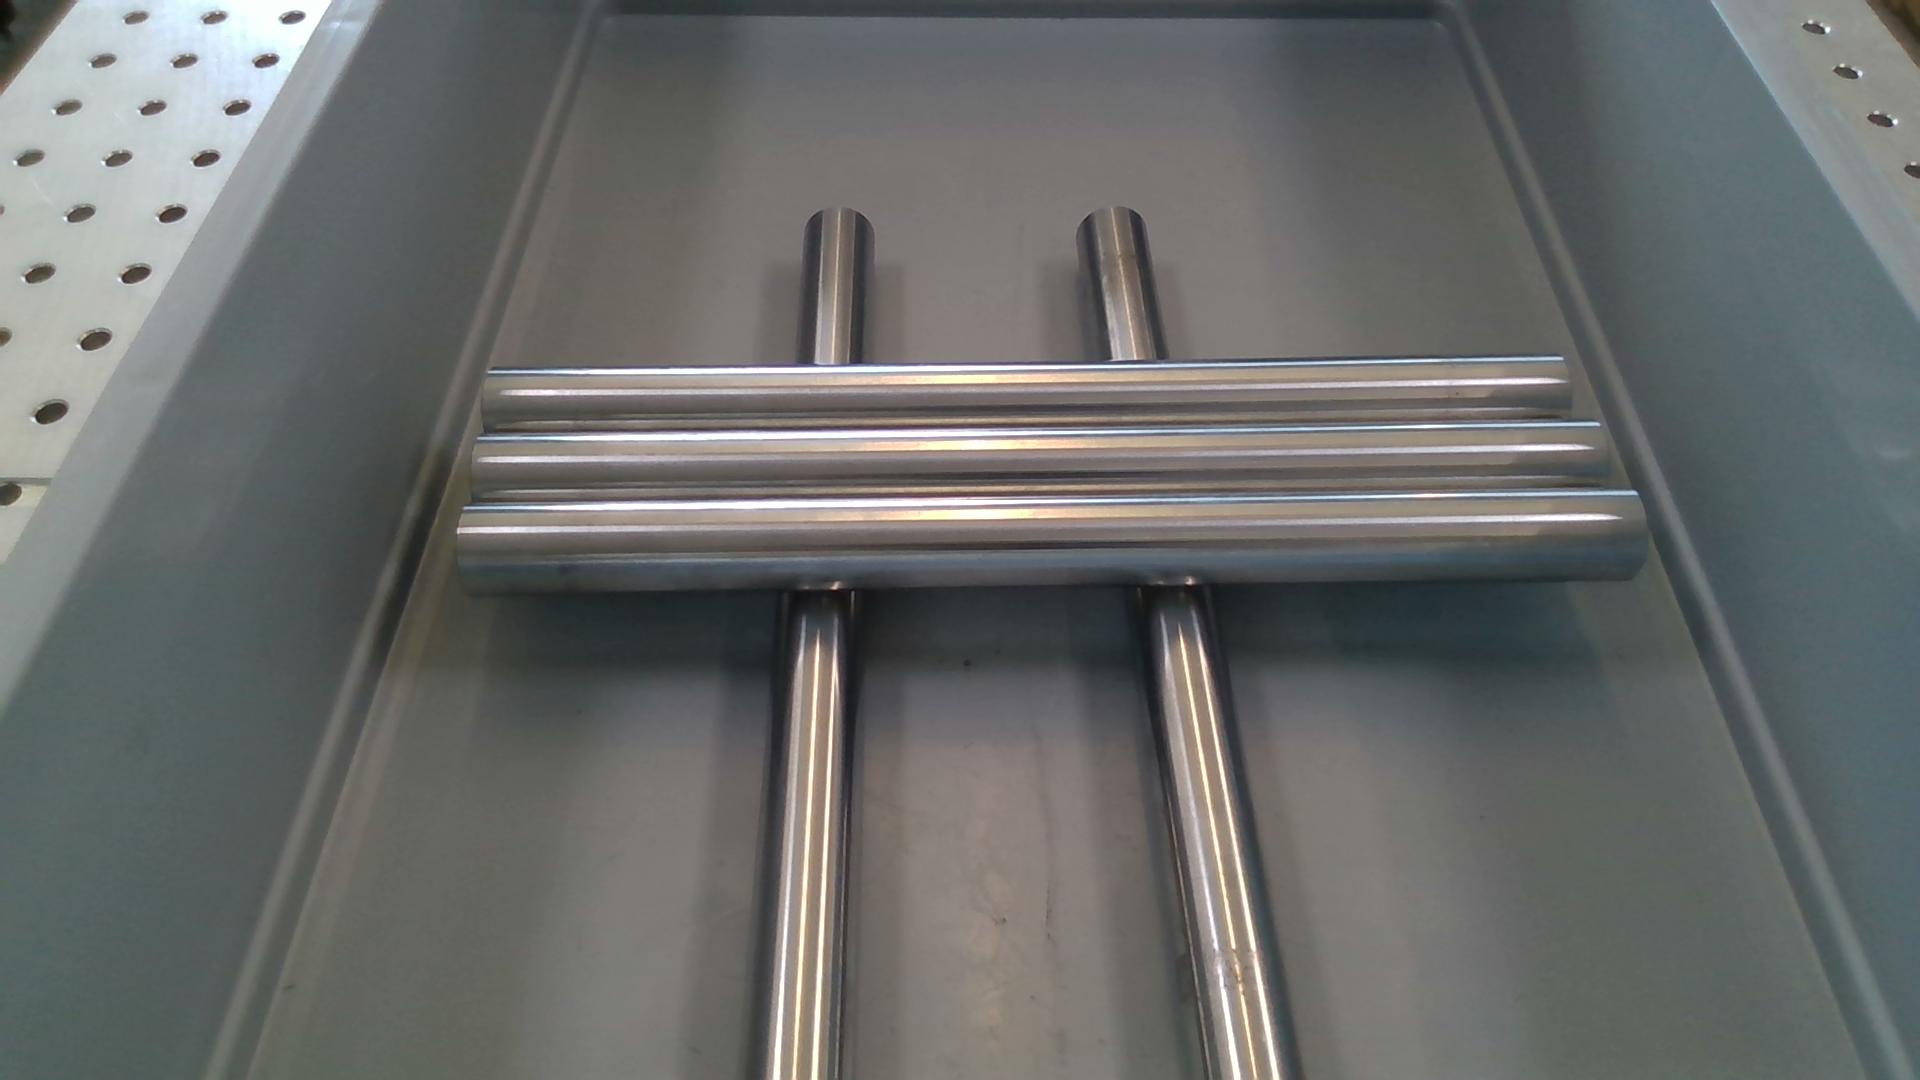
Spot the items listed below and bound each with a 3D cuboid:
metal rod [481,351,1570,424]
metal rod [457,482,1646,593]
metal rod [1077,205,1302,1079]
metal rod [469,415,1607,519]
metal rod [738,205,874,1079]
[{"bbox_3d":[0.019,-0.039,0.391,0.300,0.025,0.025,-1,50,-1],"label":"metal rod"},{"bbox_3d":[0.024,-0.001,0.360,0.300,0.025,0.025,-1,50,-1],"label":"metal rod"},{"bbox_3d":[0.057,0.008,0.387,0.025,0.025,0.299,-1,50,-1],"label":"metal rod"},{"bbox_3d":[0.021,-0.020,0.375,0.300,0.025,0.025,-1,50,-1],"label":"metal rod"},{"bbox_3d":[-0.039,0.008,0.387,0.025,0.025,0.299,-1,50,-1],"label":"metal rod"}]
